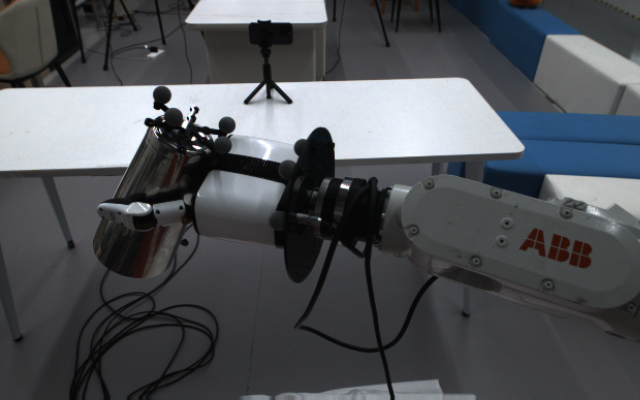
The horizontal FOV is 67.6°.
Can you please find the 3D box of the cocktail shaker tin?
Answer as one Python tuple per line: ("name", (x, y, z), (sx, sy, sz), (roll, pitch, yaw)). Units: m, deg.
("cocktail shaker tin", (-0.176, -0.007, 0.528), (0.093, 0.170, 0.093), (26, 32, -18))
